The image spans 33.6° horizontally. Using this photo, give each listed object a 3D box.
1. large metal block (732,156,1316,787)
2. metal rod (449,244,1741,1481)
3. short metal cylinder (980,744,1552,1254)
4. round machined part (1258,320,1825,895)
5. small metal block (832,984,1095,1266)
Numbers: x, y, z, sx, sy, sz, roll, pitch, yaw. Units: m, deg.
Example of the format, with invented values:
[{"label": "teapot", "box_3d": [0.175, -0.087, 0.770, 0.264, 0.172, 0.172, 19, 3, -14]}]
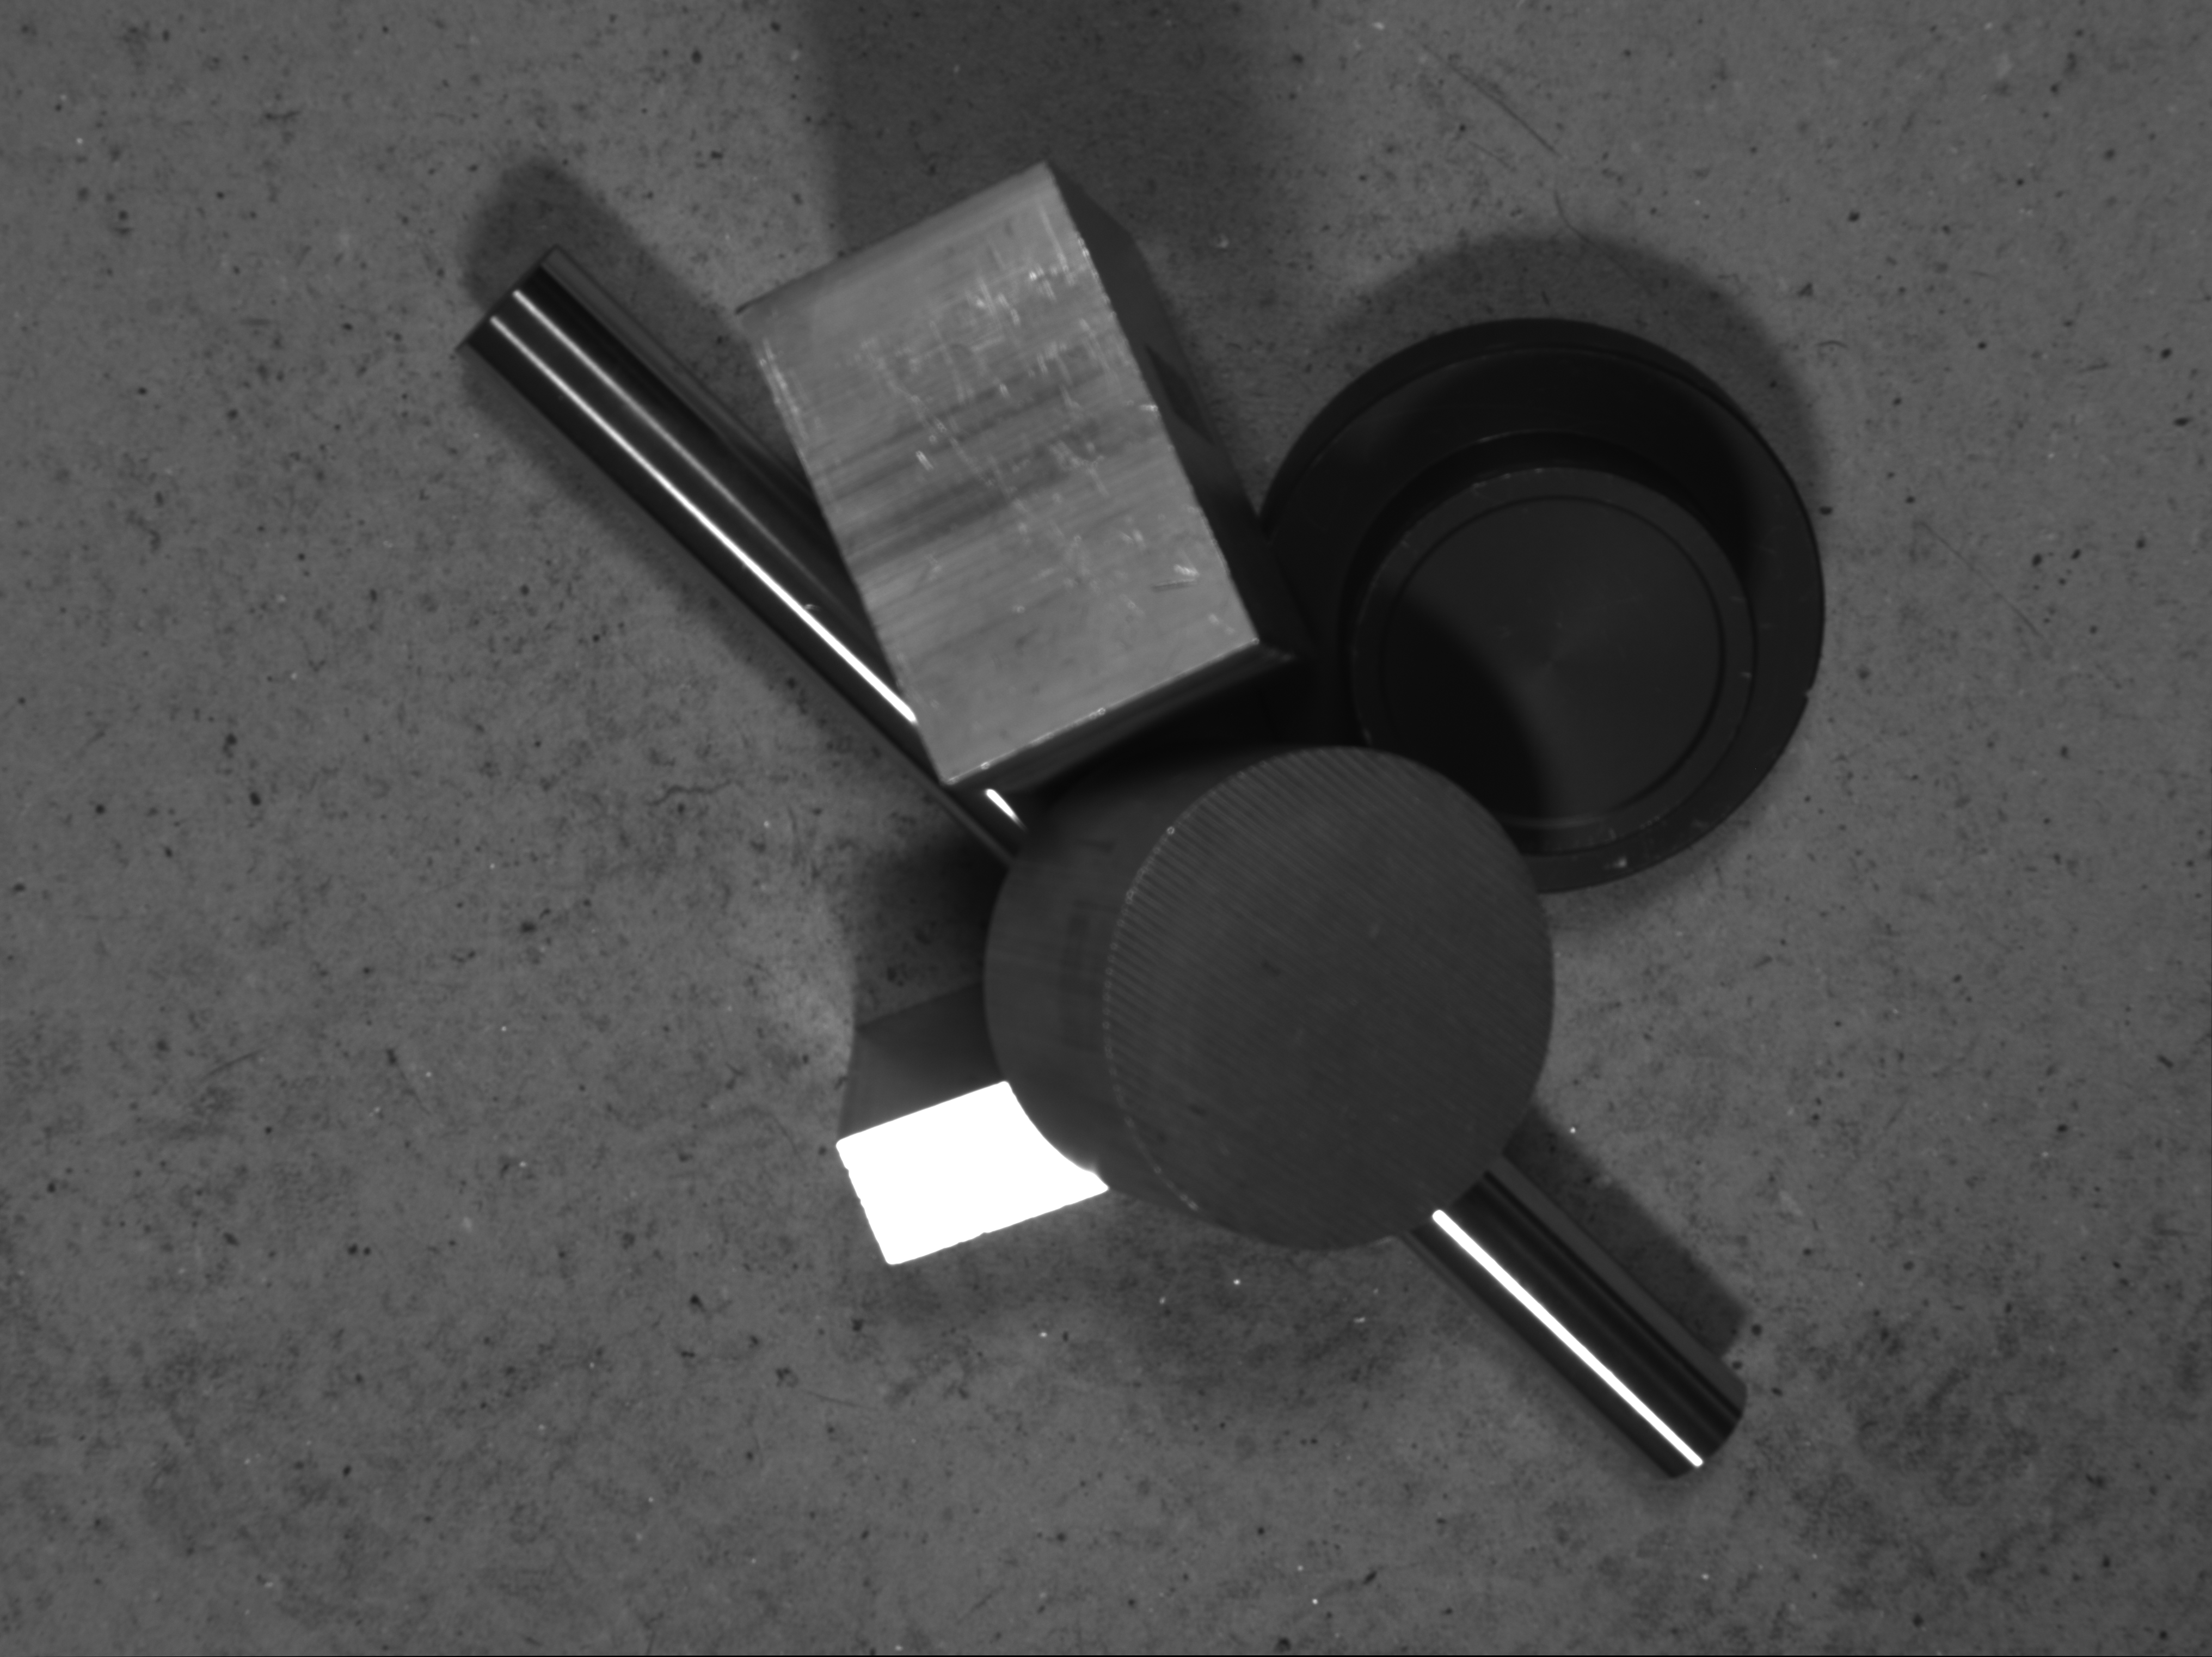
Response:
[{"label": "large metal block", "box_3d": [-0.010, -0.053, 0.583, 0.050, 0.080, 0.080, -25, 86, 10]}, {"label": "metal rod", "box_3d": [0.004, 0.012, 0.648, 0.025, 0.025, 0.300, -43, 105, 13]}, {"label": "short metal cylinder", "box_3d": [0.026, 0.026, 0.600, 0.080, 0.050, 0.080, -1, 93, -23]}, {"label": "round machined part", "box_3d": [0.073, -0.034, 0.622, 0.098, 0.042, 0.098, 0, 110, -1]}, {"label": "small metal block", "box_3d": [-0.019, 0.047, 0.648, 0.050, 0.050, 0.025, -20, 108, 6]}]
